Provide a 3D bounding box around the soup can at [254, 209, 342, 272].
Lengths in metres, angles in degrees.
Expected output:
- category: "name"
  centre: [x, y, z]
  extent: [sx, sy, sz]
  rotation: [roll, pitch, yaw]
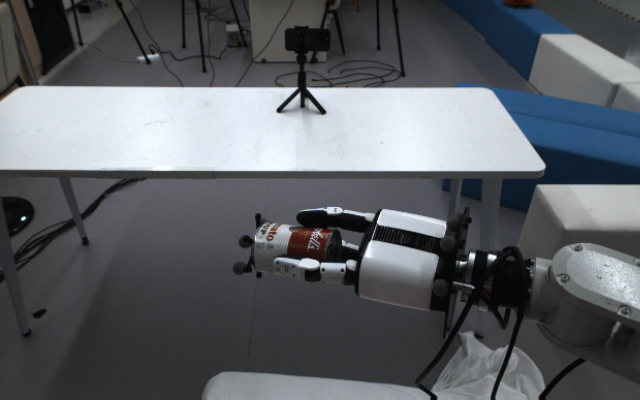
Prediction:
- category: "soup can"
  centre: [-0.027, 0.067, 0.626]
  extent: [0.101, 0.067, 0.067]
  rotation: [5, 34, 18]
